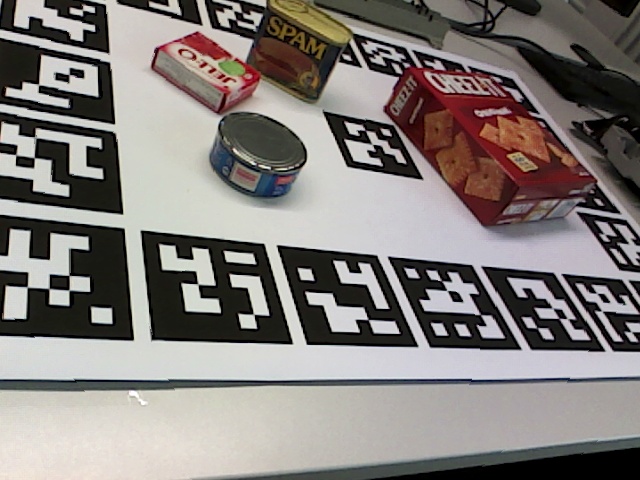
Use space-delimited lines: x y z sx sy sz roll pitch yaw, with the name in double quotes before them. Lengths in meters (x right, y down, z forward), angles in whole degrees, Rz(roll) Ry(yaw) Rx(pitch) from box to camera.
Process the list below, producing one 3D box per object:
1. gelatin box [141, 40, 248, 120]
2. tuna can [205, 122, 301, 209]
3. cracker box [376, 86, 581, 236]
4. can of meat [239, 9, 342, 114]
"gelatin box" -0.132 -0.174 0.663 0.089 0.030 0.073 36 35 3
"tuna can" -0.064 -0.070 0.583 0.085 0.034 0.086 17 43 -17
"cracker box" 0.199 -0.106 0.779 0.163 0.072 0.215 -7 49 -40
"can of meat" -0.039 -0.209 0.733 0.102 0.084 0.058 26 37 -4
